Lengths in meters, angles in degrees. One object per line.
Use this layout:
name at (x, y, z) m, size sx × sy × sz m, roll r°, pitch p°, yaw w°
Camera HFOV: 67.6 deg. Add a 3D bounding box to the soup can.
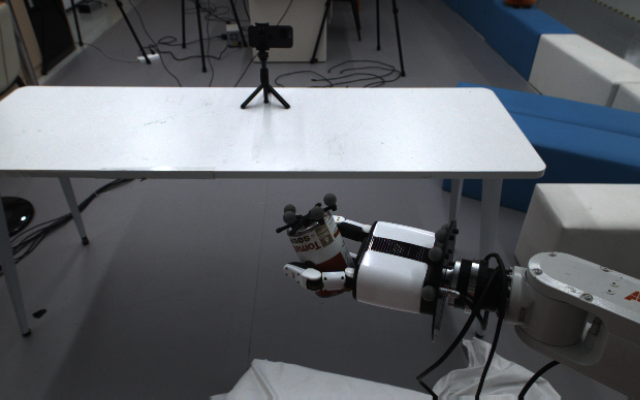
soup can at (0.007, 0.073, 0.666) m, size 0.067 × 0.101 × 0.067 m, roll -23°, pitch 16°, yaw 7°
